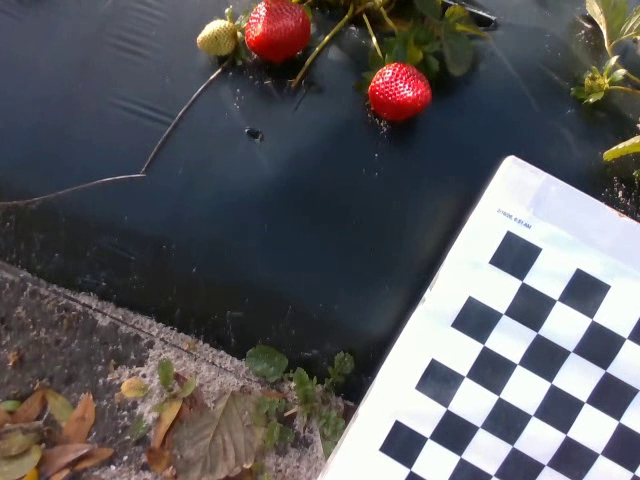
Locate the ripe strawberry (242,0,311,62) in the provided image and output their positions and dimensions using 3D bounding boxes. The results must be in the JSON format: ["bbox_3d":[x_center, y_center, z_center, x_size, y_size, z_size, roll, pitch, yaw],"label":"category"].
[{"bbox_3d":[-0.021,-0.102,0.278,0.035,0.041,0.036,14,30,10],"label":"ripe strawberry"}]

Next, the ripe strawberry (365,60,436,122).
[{"bbox_3d":[0.041,-0.071,0.275,0.033,0.038,0.039,35,18,-15],"label":"ripe strawberry"}]
